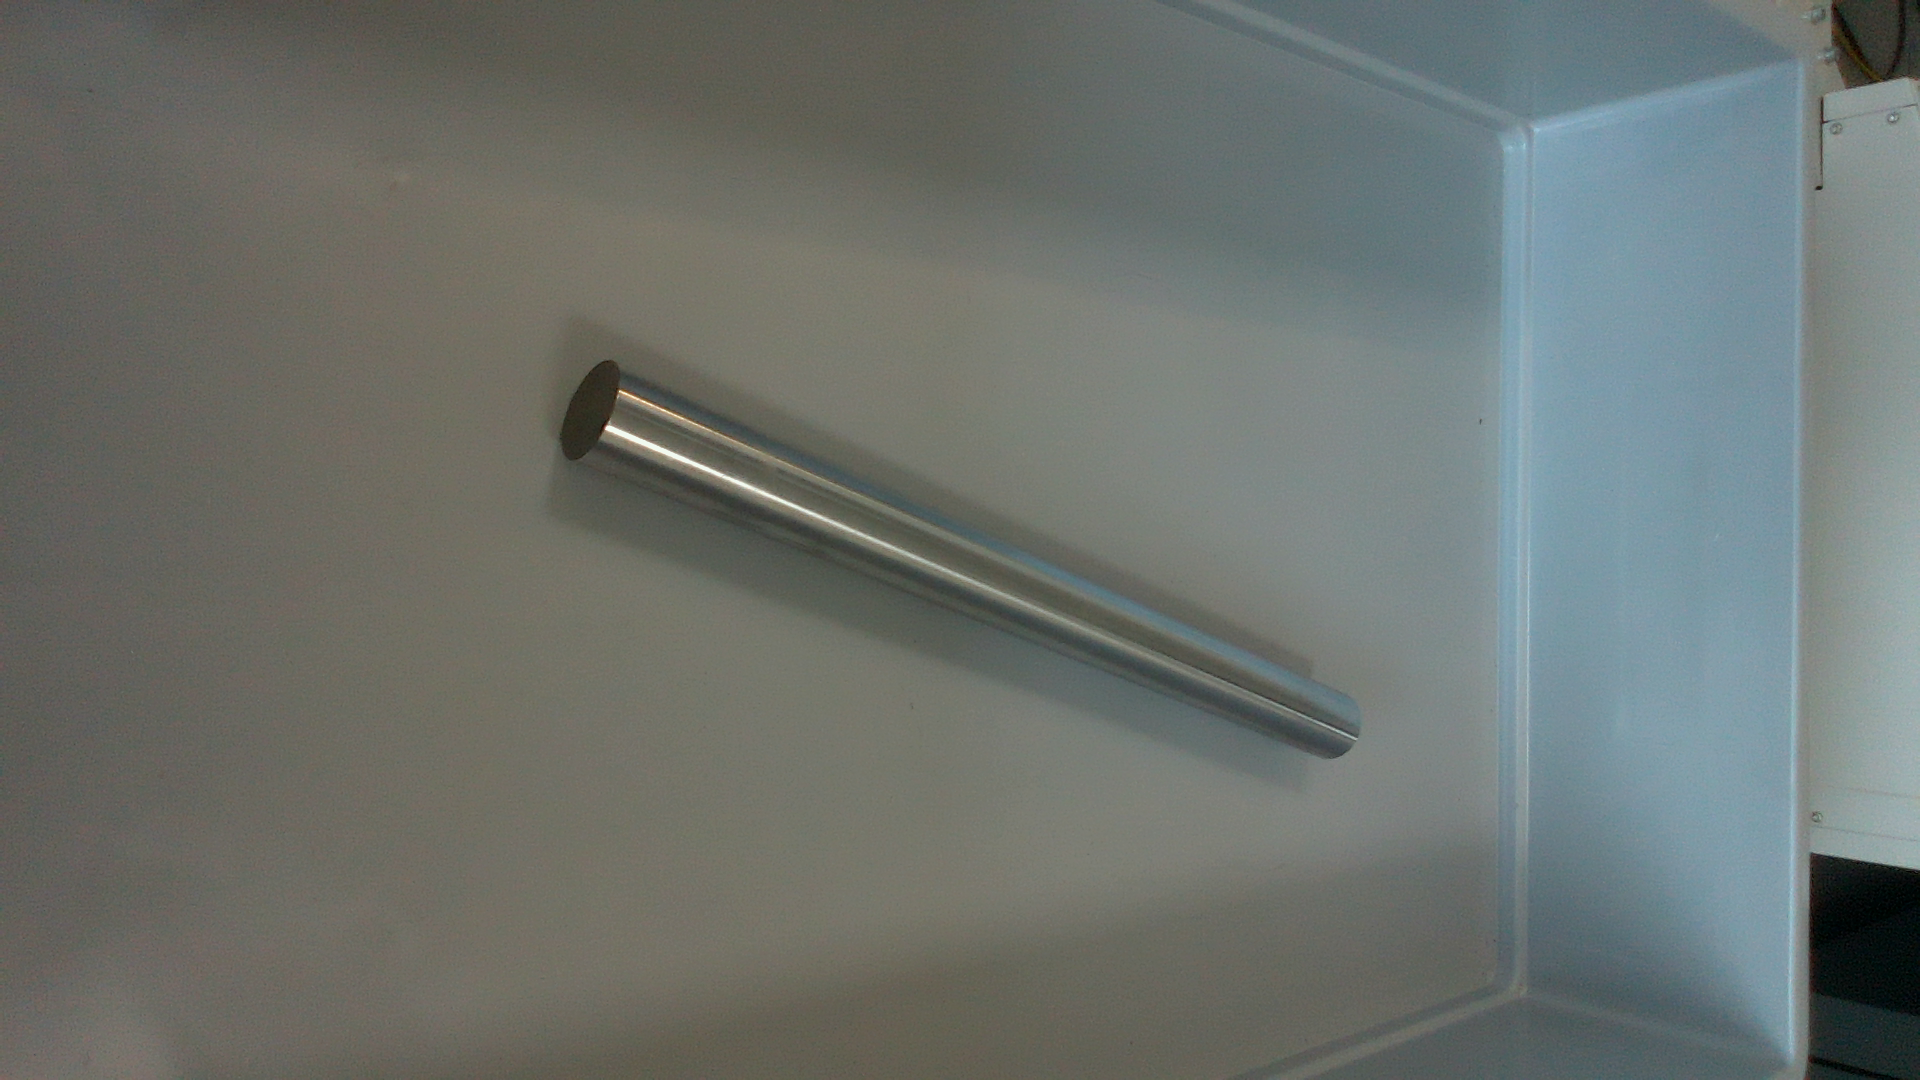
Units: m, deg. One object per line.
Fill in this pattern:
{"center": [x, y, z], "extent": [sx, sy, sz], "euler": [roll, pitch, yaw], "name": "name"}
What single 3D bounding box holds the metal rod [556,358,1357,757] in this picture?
{"center": [0.023, 0.018, 0.406], "extent": [0.301, 0.025, 0.025], "euler": [24, 75, -37], "name": "metal rod"}
